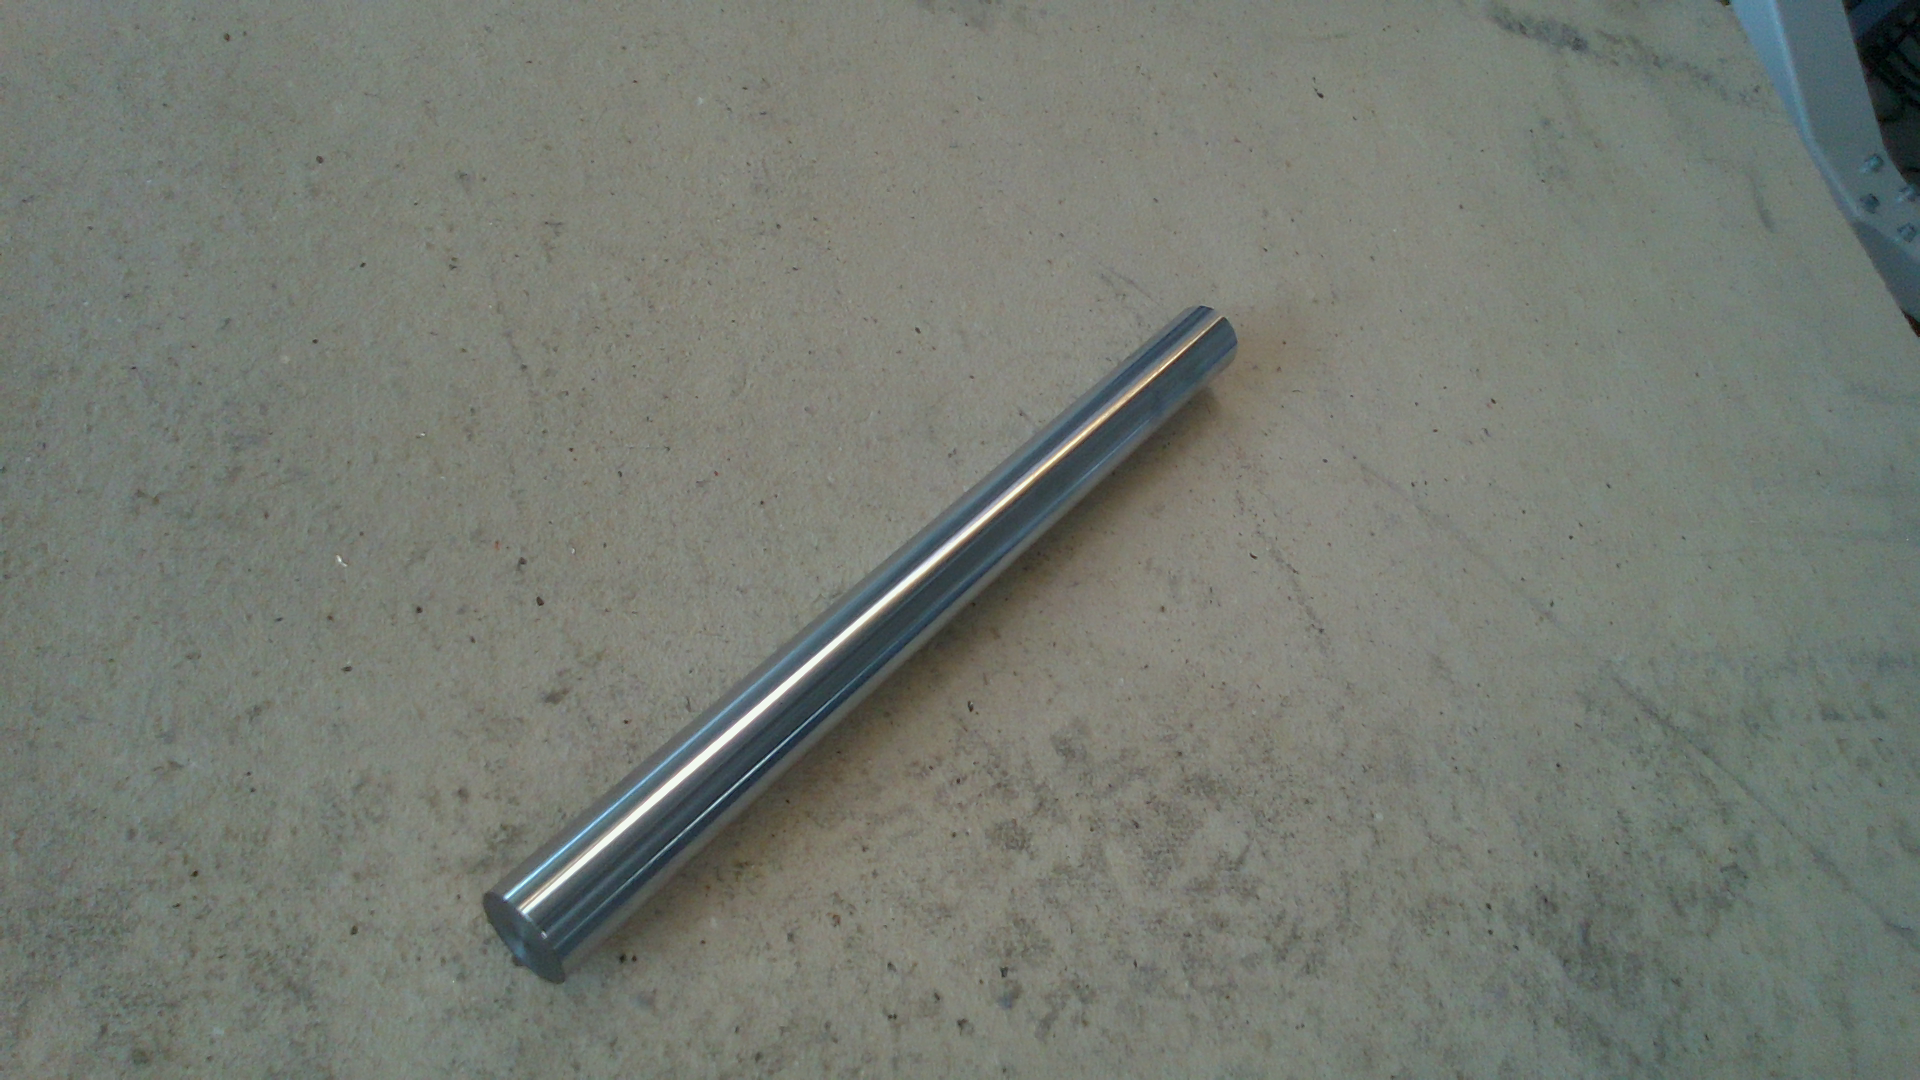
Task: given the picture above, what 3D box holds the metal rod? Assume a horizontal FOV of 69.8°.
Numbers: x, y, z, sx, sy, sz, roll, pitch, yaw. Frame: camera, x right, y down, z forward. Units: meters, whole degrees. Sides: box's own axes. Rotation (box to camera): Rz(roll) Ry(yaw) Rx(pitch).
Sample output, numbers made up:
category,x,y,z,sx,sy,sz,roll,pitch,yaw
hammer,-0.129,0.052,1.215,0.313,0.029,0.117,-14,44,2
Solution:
category,x,y,z,sx,sy,sz,roll,pitch,yaw
metal rod,-0.005,0.007,0.383,0.025,0.025,0.301,46,51,4
